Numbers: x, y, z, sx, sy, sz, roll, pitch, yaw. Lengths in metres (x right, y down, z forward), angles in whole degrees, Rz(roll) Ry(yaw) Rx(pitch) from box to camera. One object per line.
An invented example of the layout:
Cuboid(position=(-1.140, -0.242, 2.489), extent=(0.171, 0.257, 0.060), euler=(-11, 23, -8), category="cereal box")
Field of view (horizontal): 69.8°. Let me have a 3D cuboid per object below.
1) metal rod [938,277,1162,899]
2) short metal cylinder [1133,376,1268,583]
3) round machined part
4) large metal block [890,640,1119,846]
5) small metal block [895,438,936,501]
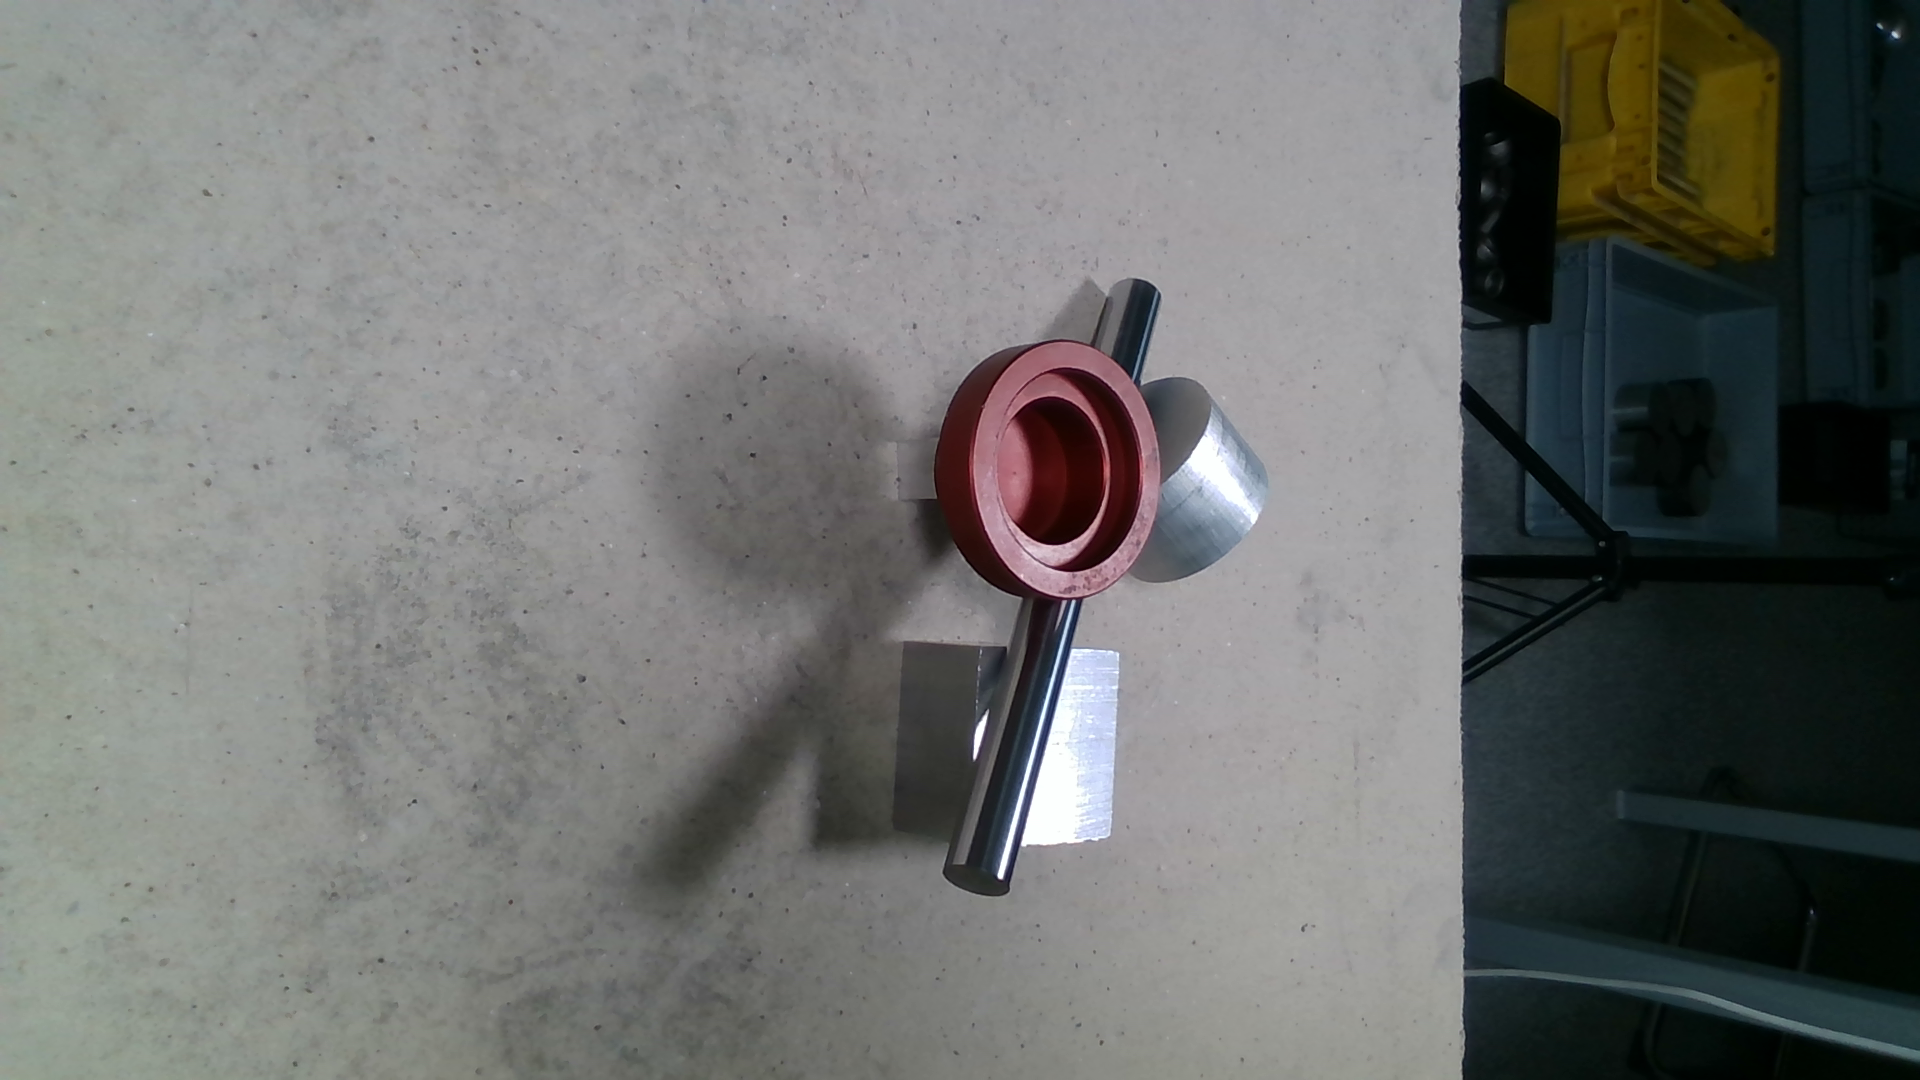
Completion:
Cuboid(position=(0.044, 0.004, 0.572), extent=(0.025, 0.025, 0.299), euler=(42, 50, -32), category="metal rod")
Cuboid(position=(0.092, -0.027, 0.625), extent=(0.050, 0.080, 0.080), euler=(45, 63, -31), category="short metal cylinder")
Cuboid(position=(0.029, -0.026, 0.532), extent=(0.098, 0.042, 0.098), euler=(0, 90, -39), category="round machined part")
Cuboid(position=(0.020, 0.085, 0.584), extent=(0.080, 0.050, 0.080), euler=(6, 86, -40), category="large metal block")
Cuboid(position=(0.008, -0.030, 0.575), extent=(0.050, 0.050, 0.025), euler=(-3, 92, -40), category="small metal block")
